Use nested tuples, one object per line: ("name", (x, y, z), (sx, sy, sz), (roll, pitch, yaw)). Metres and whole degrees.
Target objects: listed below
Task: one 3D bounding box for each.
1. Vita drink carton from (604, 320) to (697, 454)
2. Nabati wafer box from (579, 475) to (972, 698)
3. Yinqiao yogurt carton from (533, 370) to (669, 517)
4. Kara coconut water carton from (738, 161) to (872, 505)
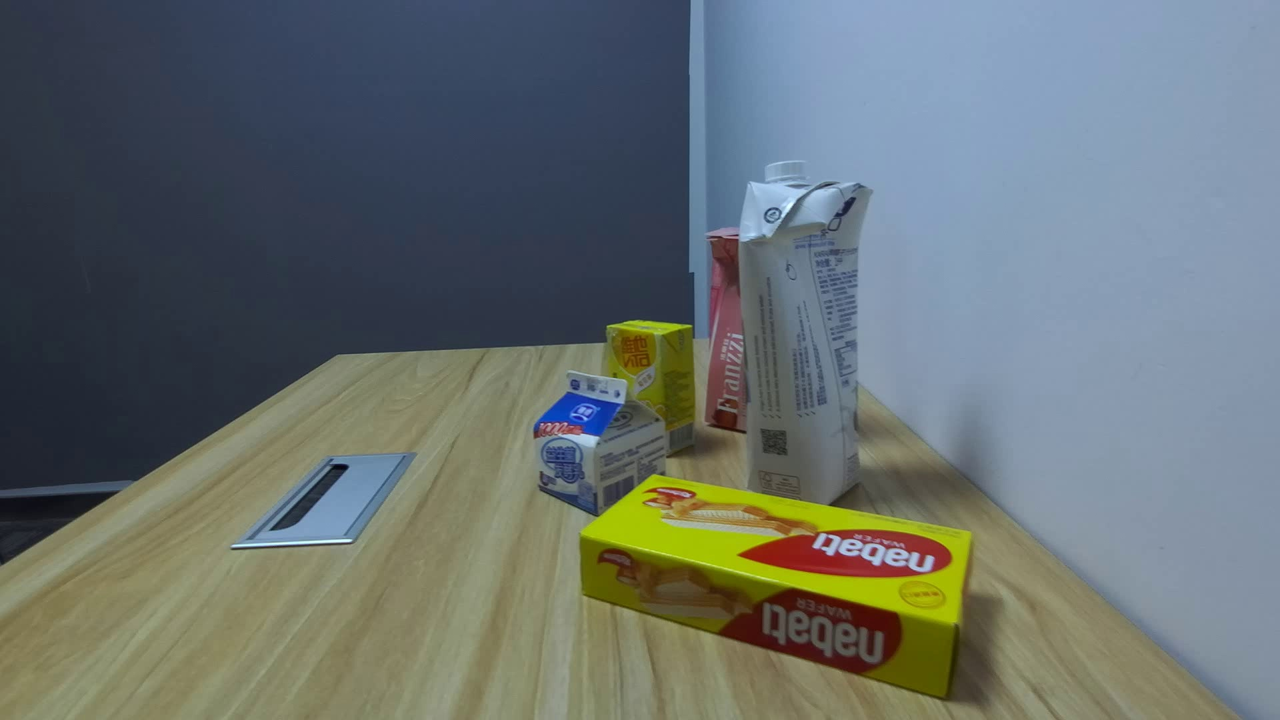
("Vita drink carton", (0.007, 0.021, 0.619), (0.076, 0.109, 0.043), (12, 20, 42))
("Nabati wafer box", (0.073, 0.114, 0.395), (0.202, 0.042, 0.093), (6, 17, 29))
("Yinqiao yogurt carton", (-0.031, 0.055, 0.536), (0.074, 0.092, 0.075), (-17, 19, -42))
("Kara coconut water carton", (0.118, -0.017, 0.503), (0.069, 0.238, 0.115), (9, 19, 40))
